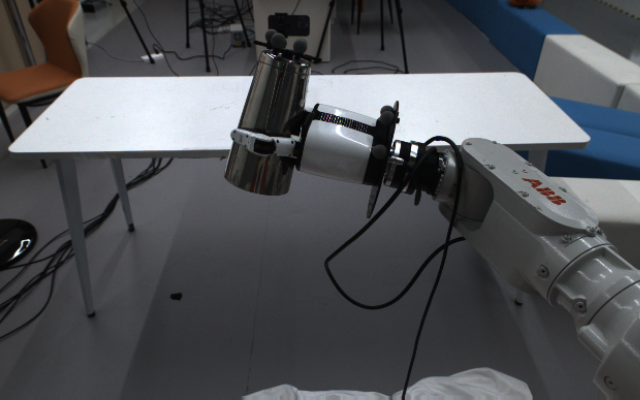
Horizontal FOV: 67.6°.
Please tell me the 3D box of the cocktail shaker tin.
[{"bbox_3d":[-0.064,-0.103,0.638,0.093,0.170,0.093,14,20,-5],"label":"cocktail shaker tin"}]
